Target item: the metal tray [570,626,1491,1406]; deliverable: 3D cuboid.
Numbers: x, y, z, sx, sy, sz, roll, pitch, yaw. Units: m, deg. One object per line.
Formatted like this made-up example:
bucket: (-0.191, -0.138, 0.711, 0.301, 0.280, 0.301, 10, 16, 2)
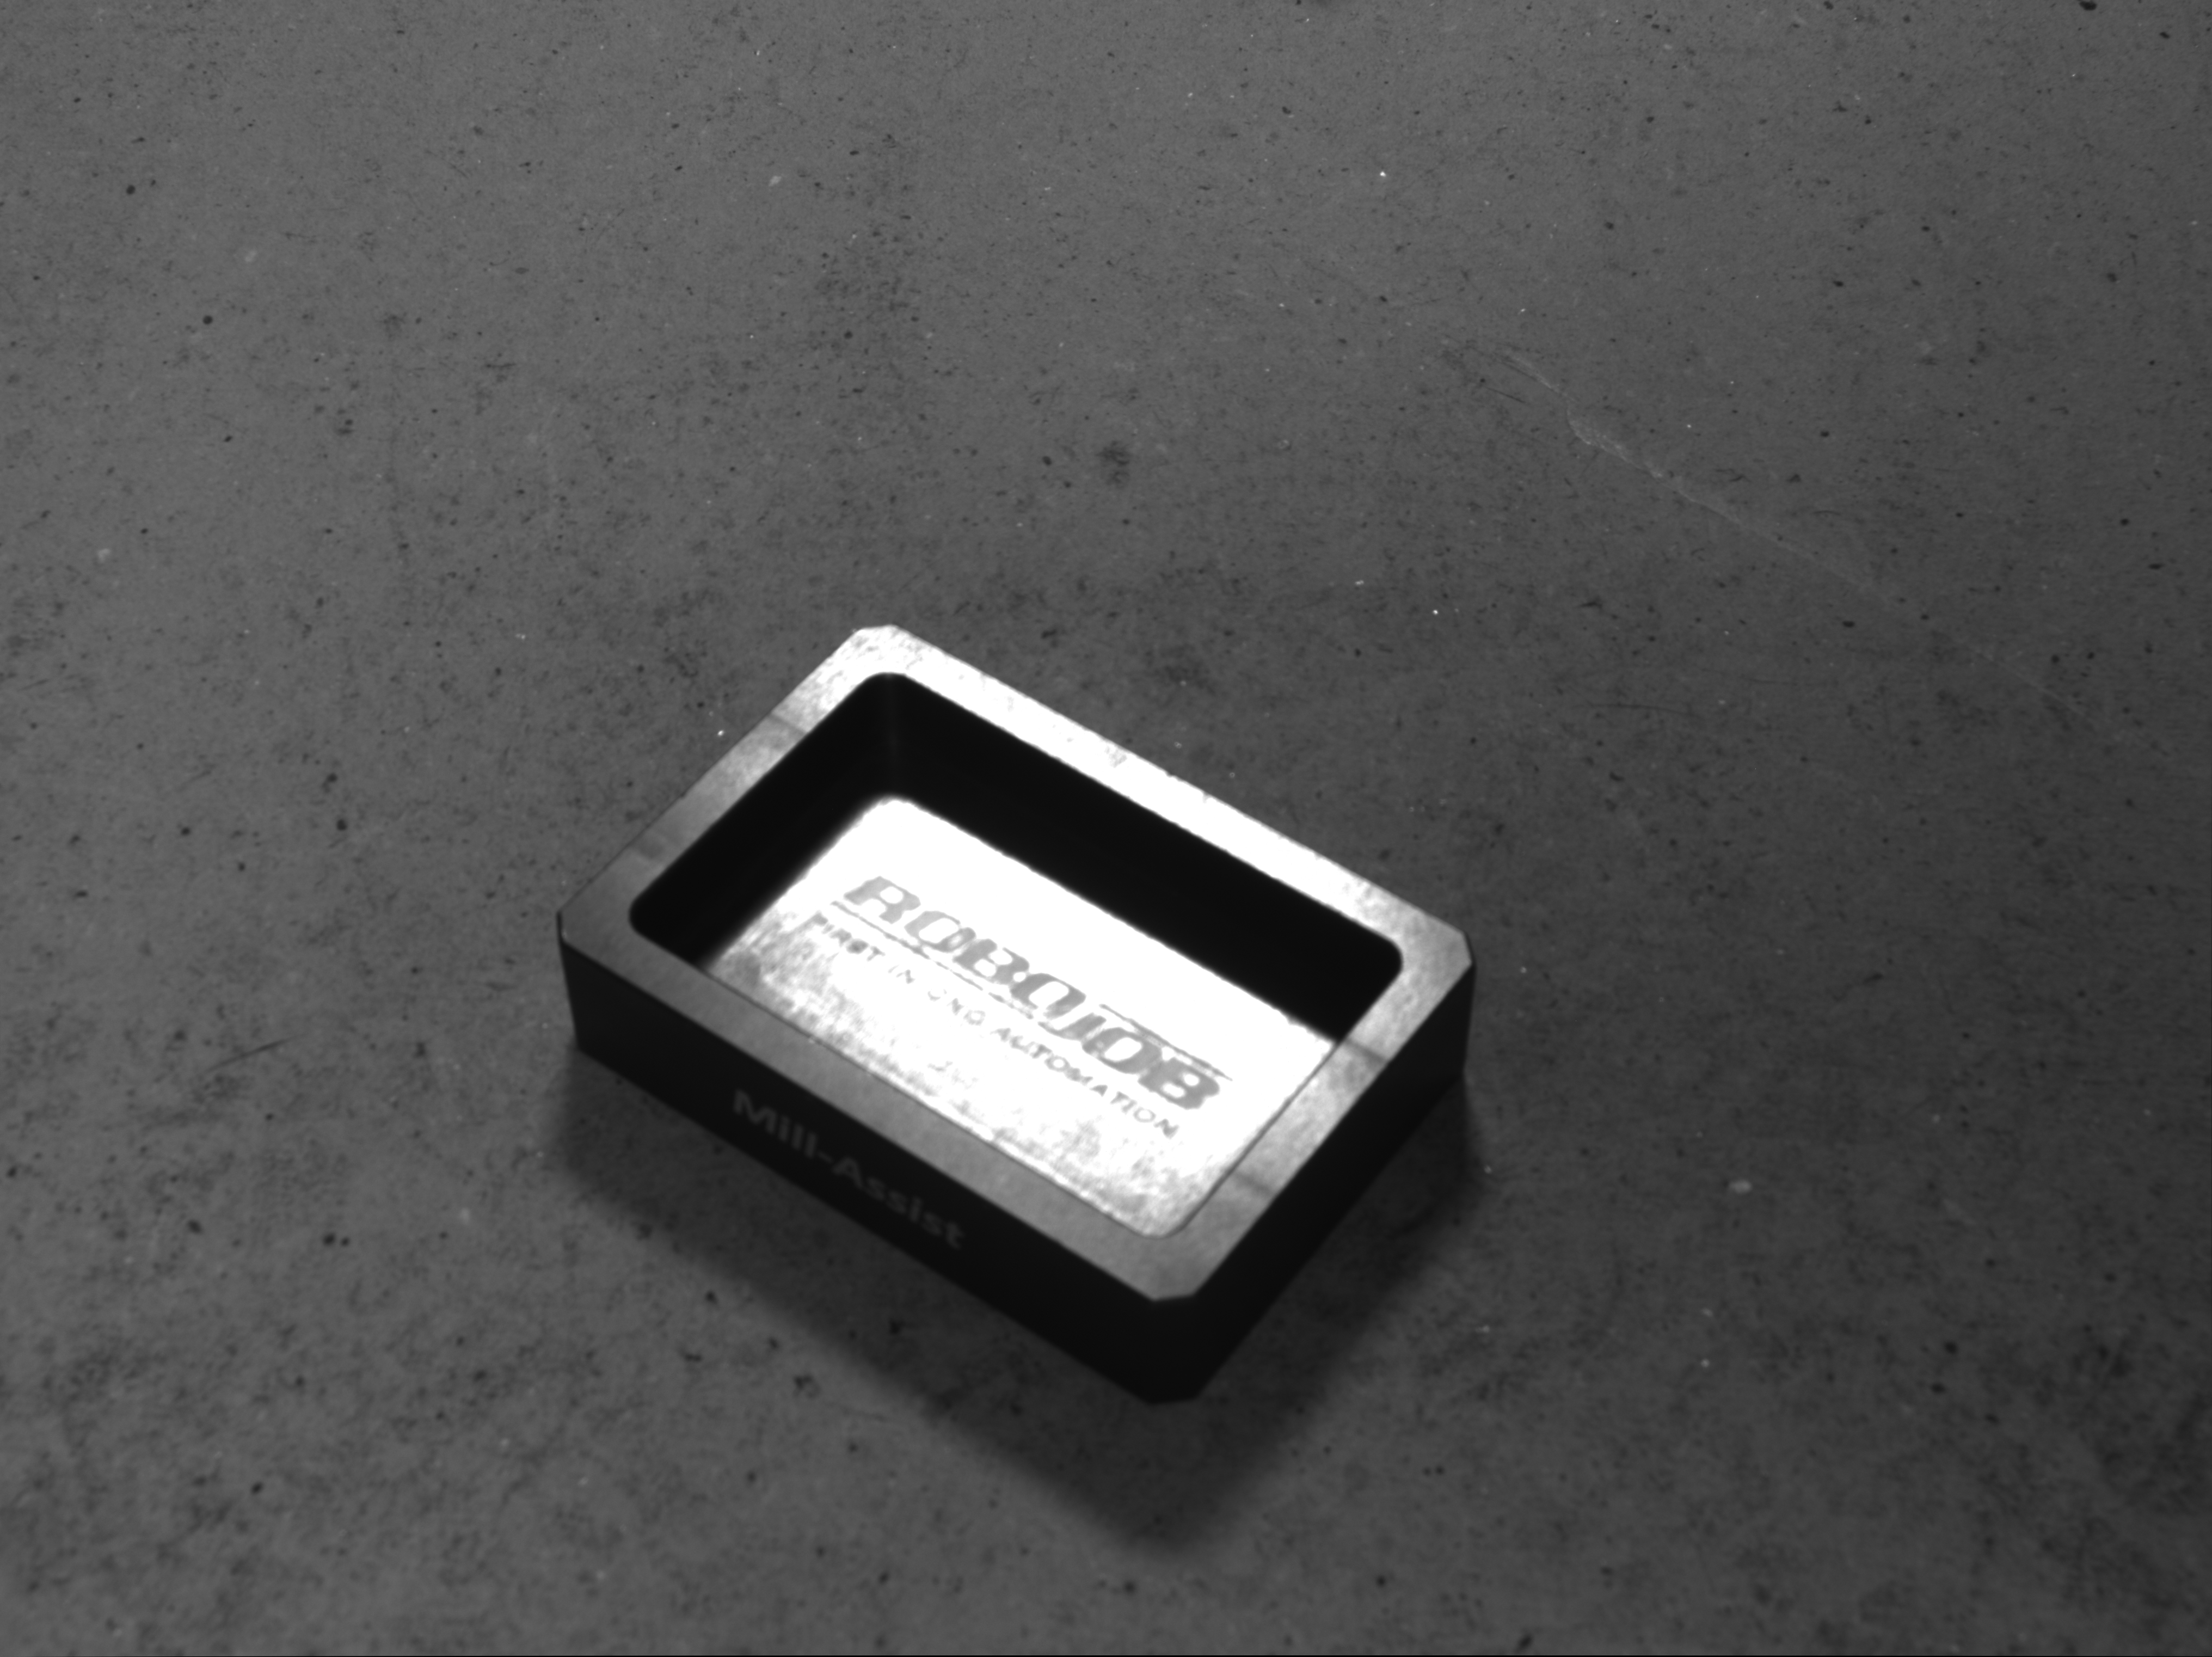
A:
metal tray: (-0.013, 0.028, 0.615, 0.130, 0.030, 0.090, 29, 56, 22)
